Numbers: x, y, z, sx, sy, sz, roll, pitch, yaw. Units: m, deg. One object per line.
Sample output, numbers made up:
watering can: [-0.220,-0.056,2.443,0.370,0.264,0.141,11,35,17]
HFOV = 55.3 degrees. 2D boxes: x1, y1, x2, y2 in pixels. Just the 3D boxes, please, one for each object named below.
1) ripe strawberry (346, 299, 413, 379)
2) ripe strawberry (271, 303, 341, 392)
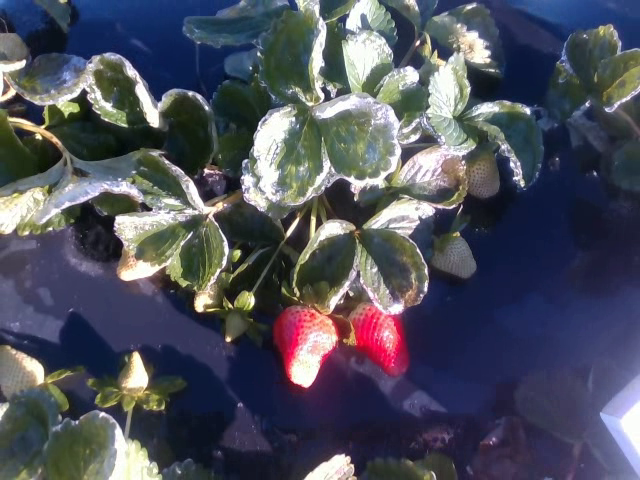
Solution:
ripe strawberry: [0.046,0.073,0.445,0.043,0.059,0.040,-36,1,-10]
ripe strawberry: [-0.008,0.082,0.444,0.052,0.070,0.040,13,-11,-18]
